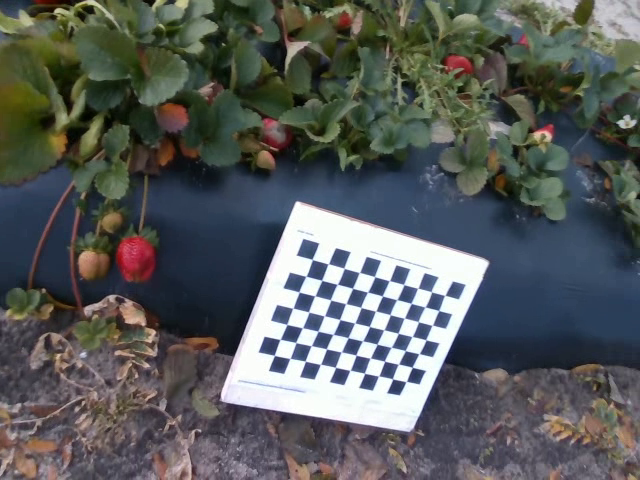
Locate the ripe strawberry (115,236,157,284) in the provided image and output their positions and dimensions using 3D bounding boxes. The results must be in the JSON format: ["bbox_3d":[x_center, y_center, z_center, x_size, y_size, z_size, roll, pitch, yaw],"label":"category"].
[{"bbox_3d":[-0.222,0.027,0.873,0.066,0.075,0.053,-3,24,-19],"label":"ripe strawberry"}]
